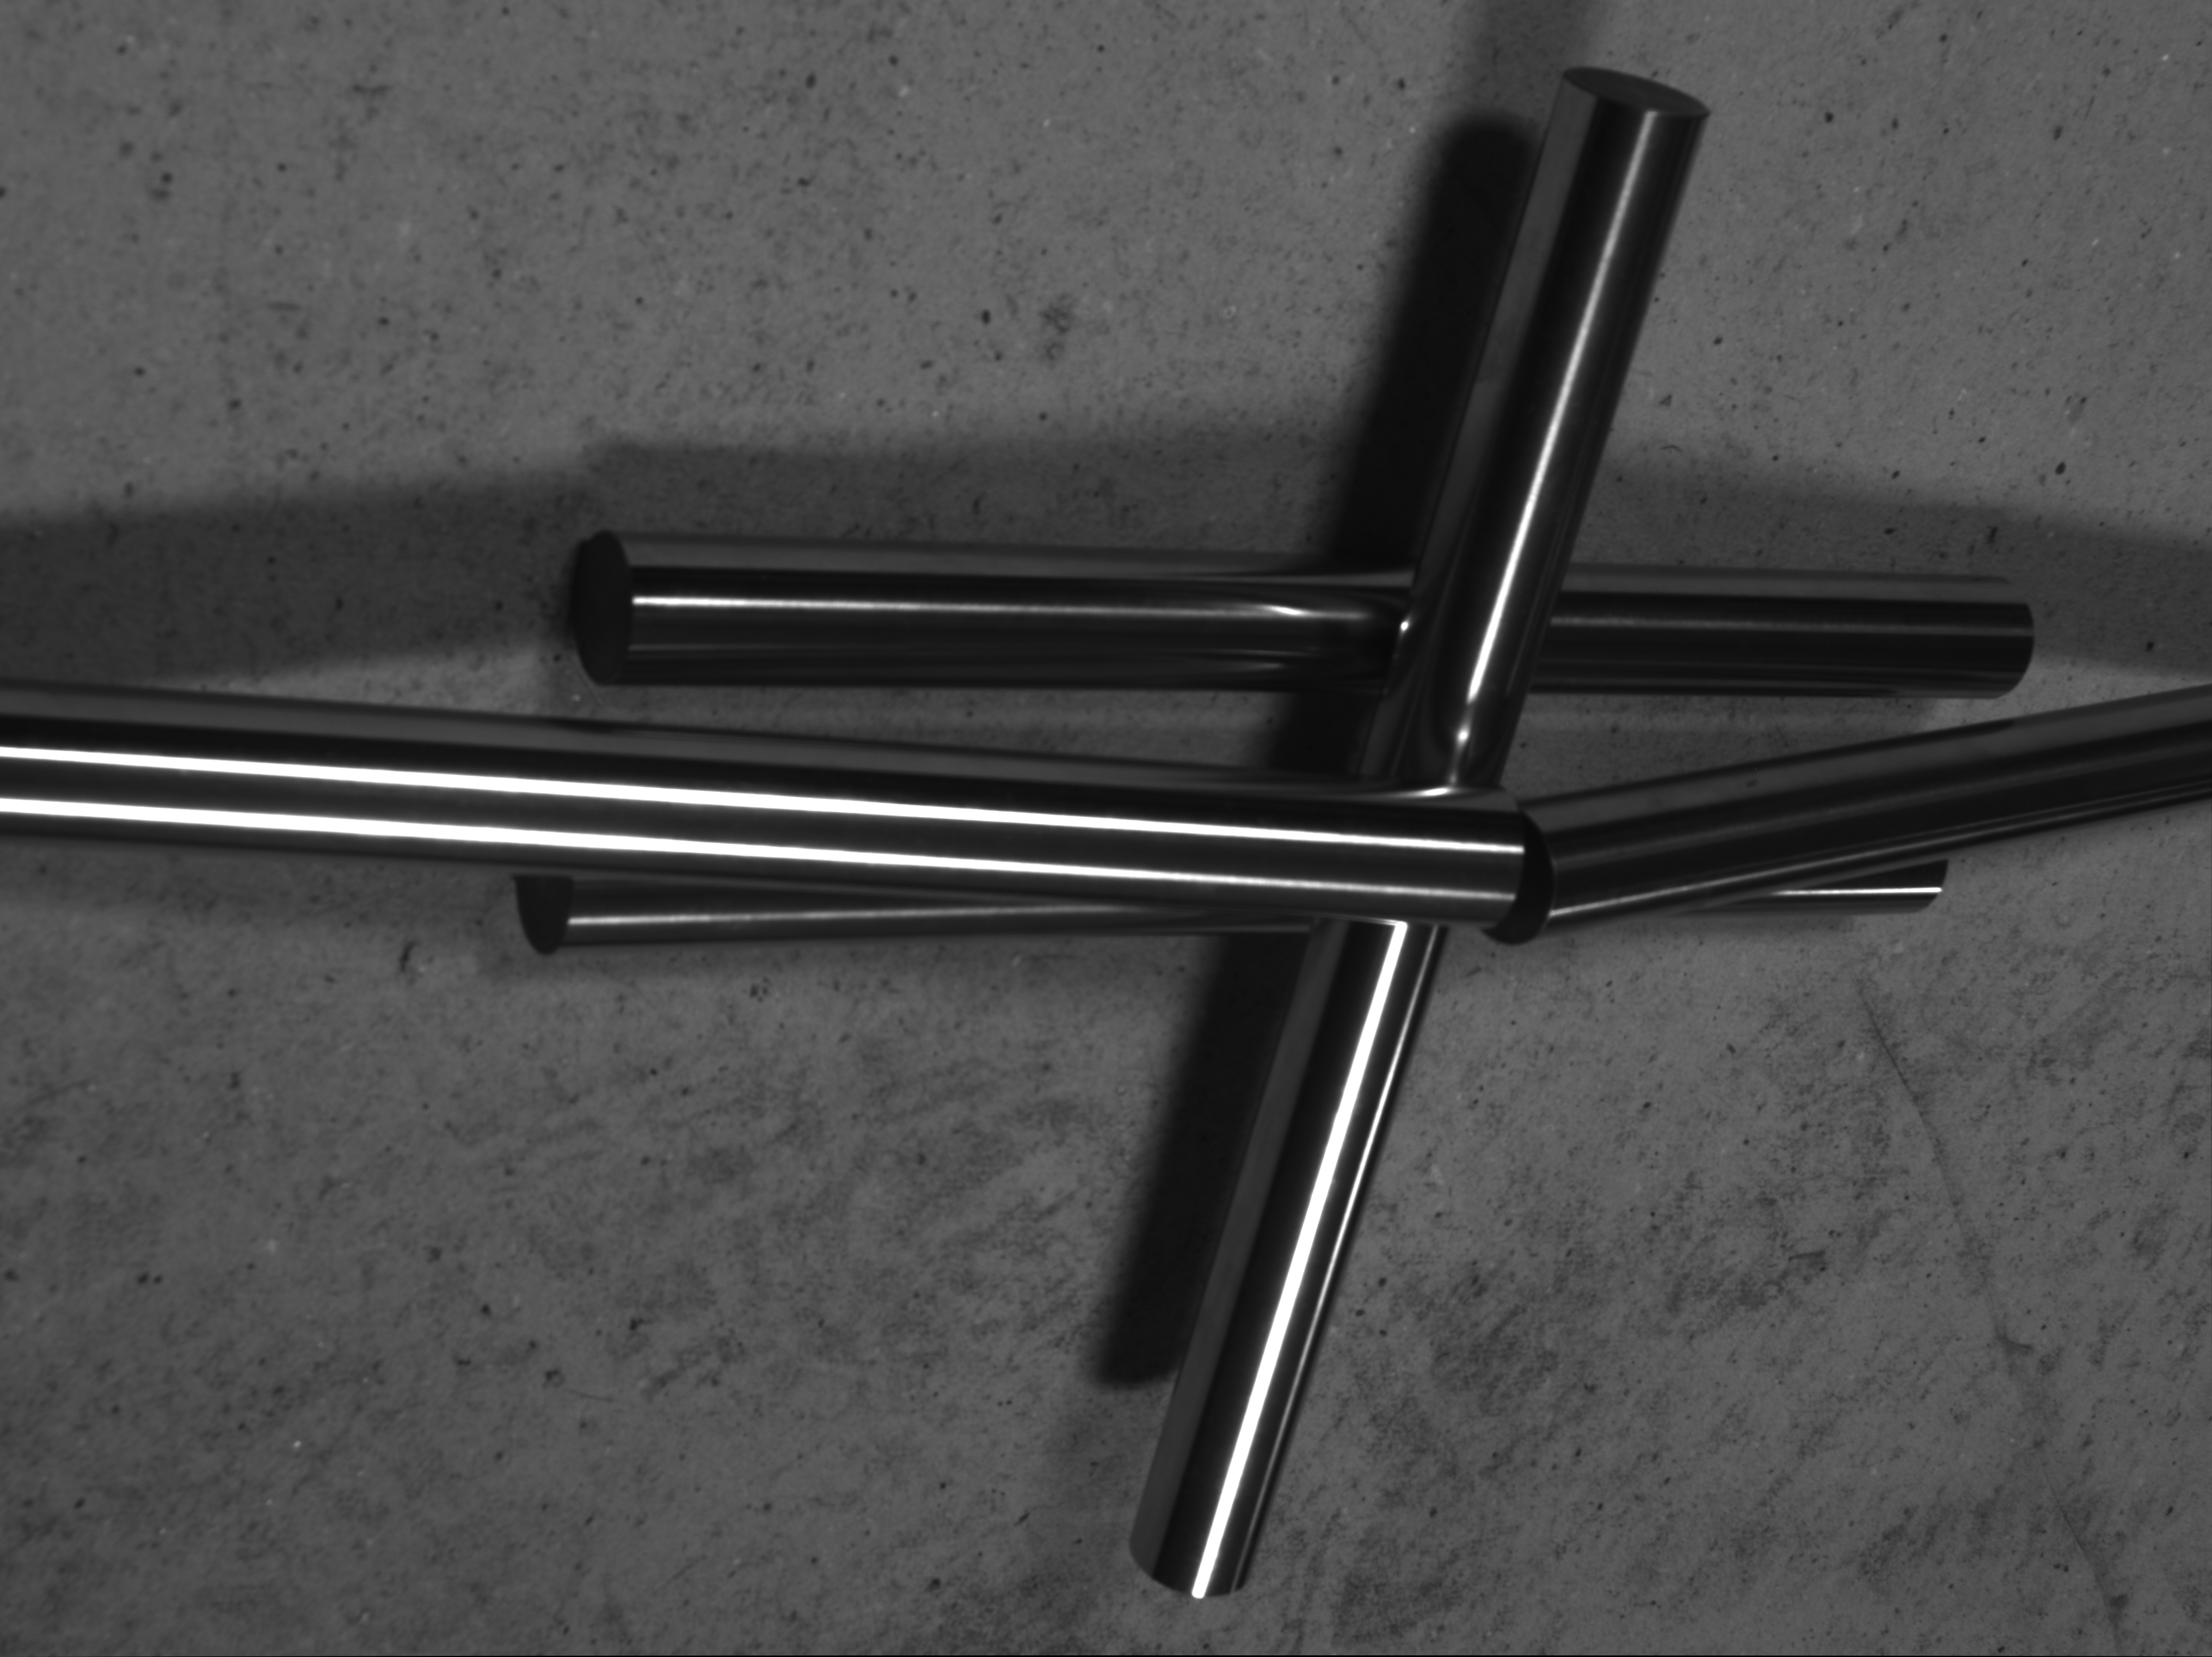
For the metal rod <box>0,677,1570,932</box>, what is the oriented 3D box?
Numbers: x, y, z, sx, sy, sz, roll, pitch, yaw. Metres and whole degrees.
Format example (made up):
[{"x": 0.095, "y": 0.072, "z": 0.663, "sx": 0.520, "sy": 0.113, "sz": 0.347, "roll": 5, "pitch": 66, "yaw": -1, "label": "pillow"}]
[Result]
[{"x": -0.066, "y": -0.004, "z": 0.578, "sx": 0.301, "sy": 0.025, "sz": 0.025, "roll": 4, "pitch": 117, "yaw": -21, "label": "metal rod"}]

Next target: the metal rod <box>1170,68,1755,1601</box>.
[{"x": 0.059, "y": 0.012, "z": 0.660, "sx": 0.025, "sy": 0.025, "sz": 0.300, "roll": 0, "pitch": 118, "yaw": -30, "label": "metal rod"}]

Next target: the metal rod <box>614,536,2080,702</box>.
[{"x": 0.056, "y": -0.036, "z": 0.661, "sx": 0.301, "sy": 0.025, "sz": 0.025, "roll": -1, "pitch": 119, "yaw": -30, "label": "metal rod"}]

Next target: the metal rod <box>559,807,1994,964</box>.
[{"x": 0.044, "y": 0.008, "z": 0.681, "sx": 0.301, "sy": 0.025, "sz": 0.025, "roll": -1, "pitch": 119, "yaw": -30, "label": "metal rod"}]

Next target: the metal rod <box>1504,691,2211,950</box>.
[{"x": 0.194, "y": -0.010, "z": 0.726, "sx": 0.301, "sy": 0.025, "sz": 0.025, "roll": -9, "pitch": 123, "yaw": -37, "label": "metal rod"}]
